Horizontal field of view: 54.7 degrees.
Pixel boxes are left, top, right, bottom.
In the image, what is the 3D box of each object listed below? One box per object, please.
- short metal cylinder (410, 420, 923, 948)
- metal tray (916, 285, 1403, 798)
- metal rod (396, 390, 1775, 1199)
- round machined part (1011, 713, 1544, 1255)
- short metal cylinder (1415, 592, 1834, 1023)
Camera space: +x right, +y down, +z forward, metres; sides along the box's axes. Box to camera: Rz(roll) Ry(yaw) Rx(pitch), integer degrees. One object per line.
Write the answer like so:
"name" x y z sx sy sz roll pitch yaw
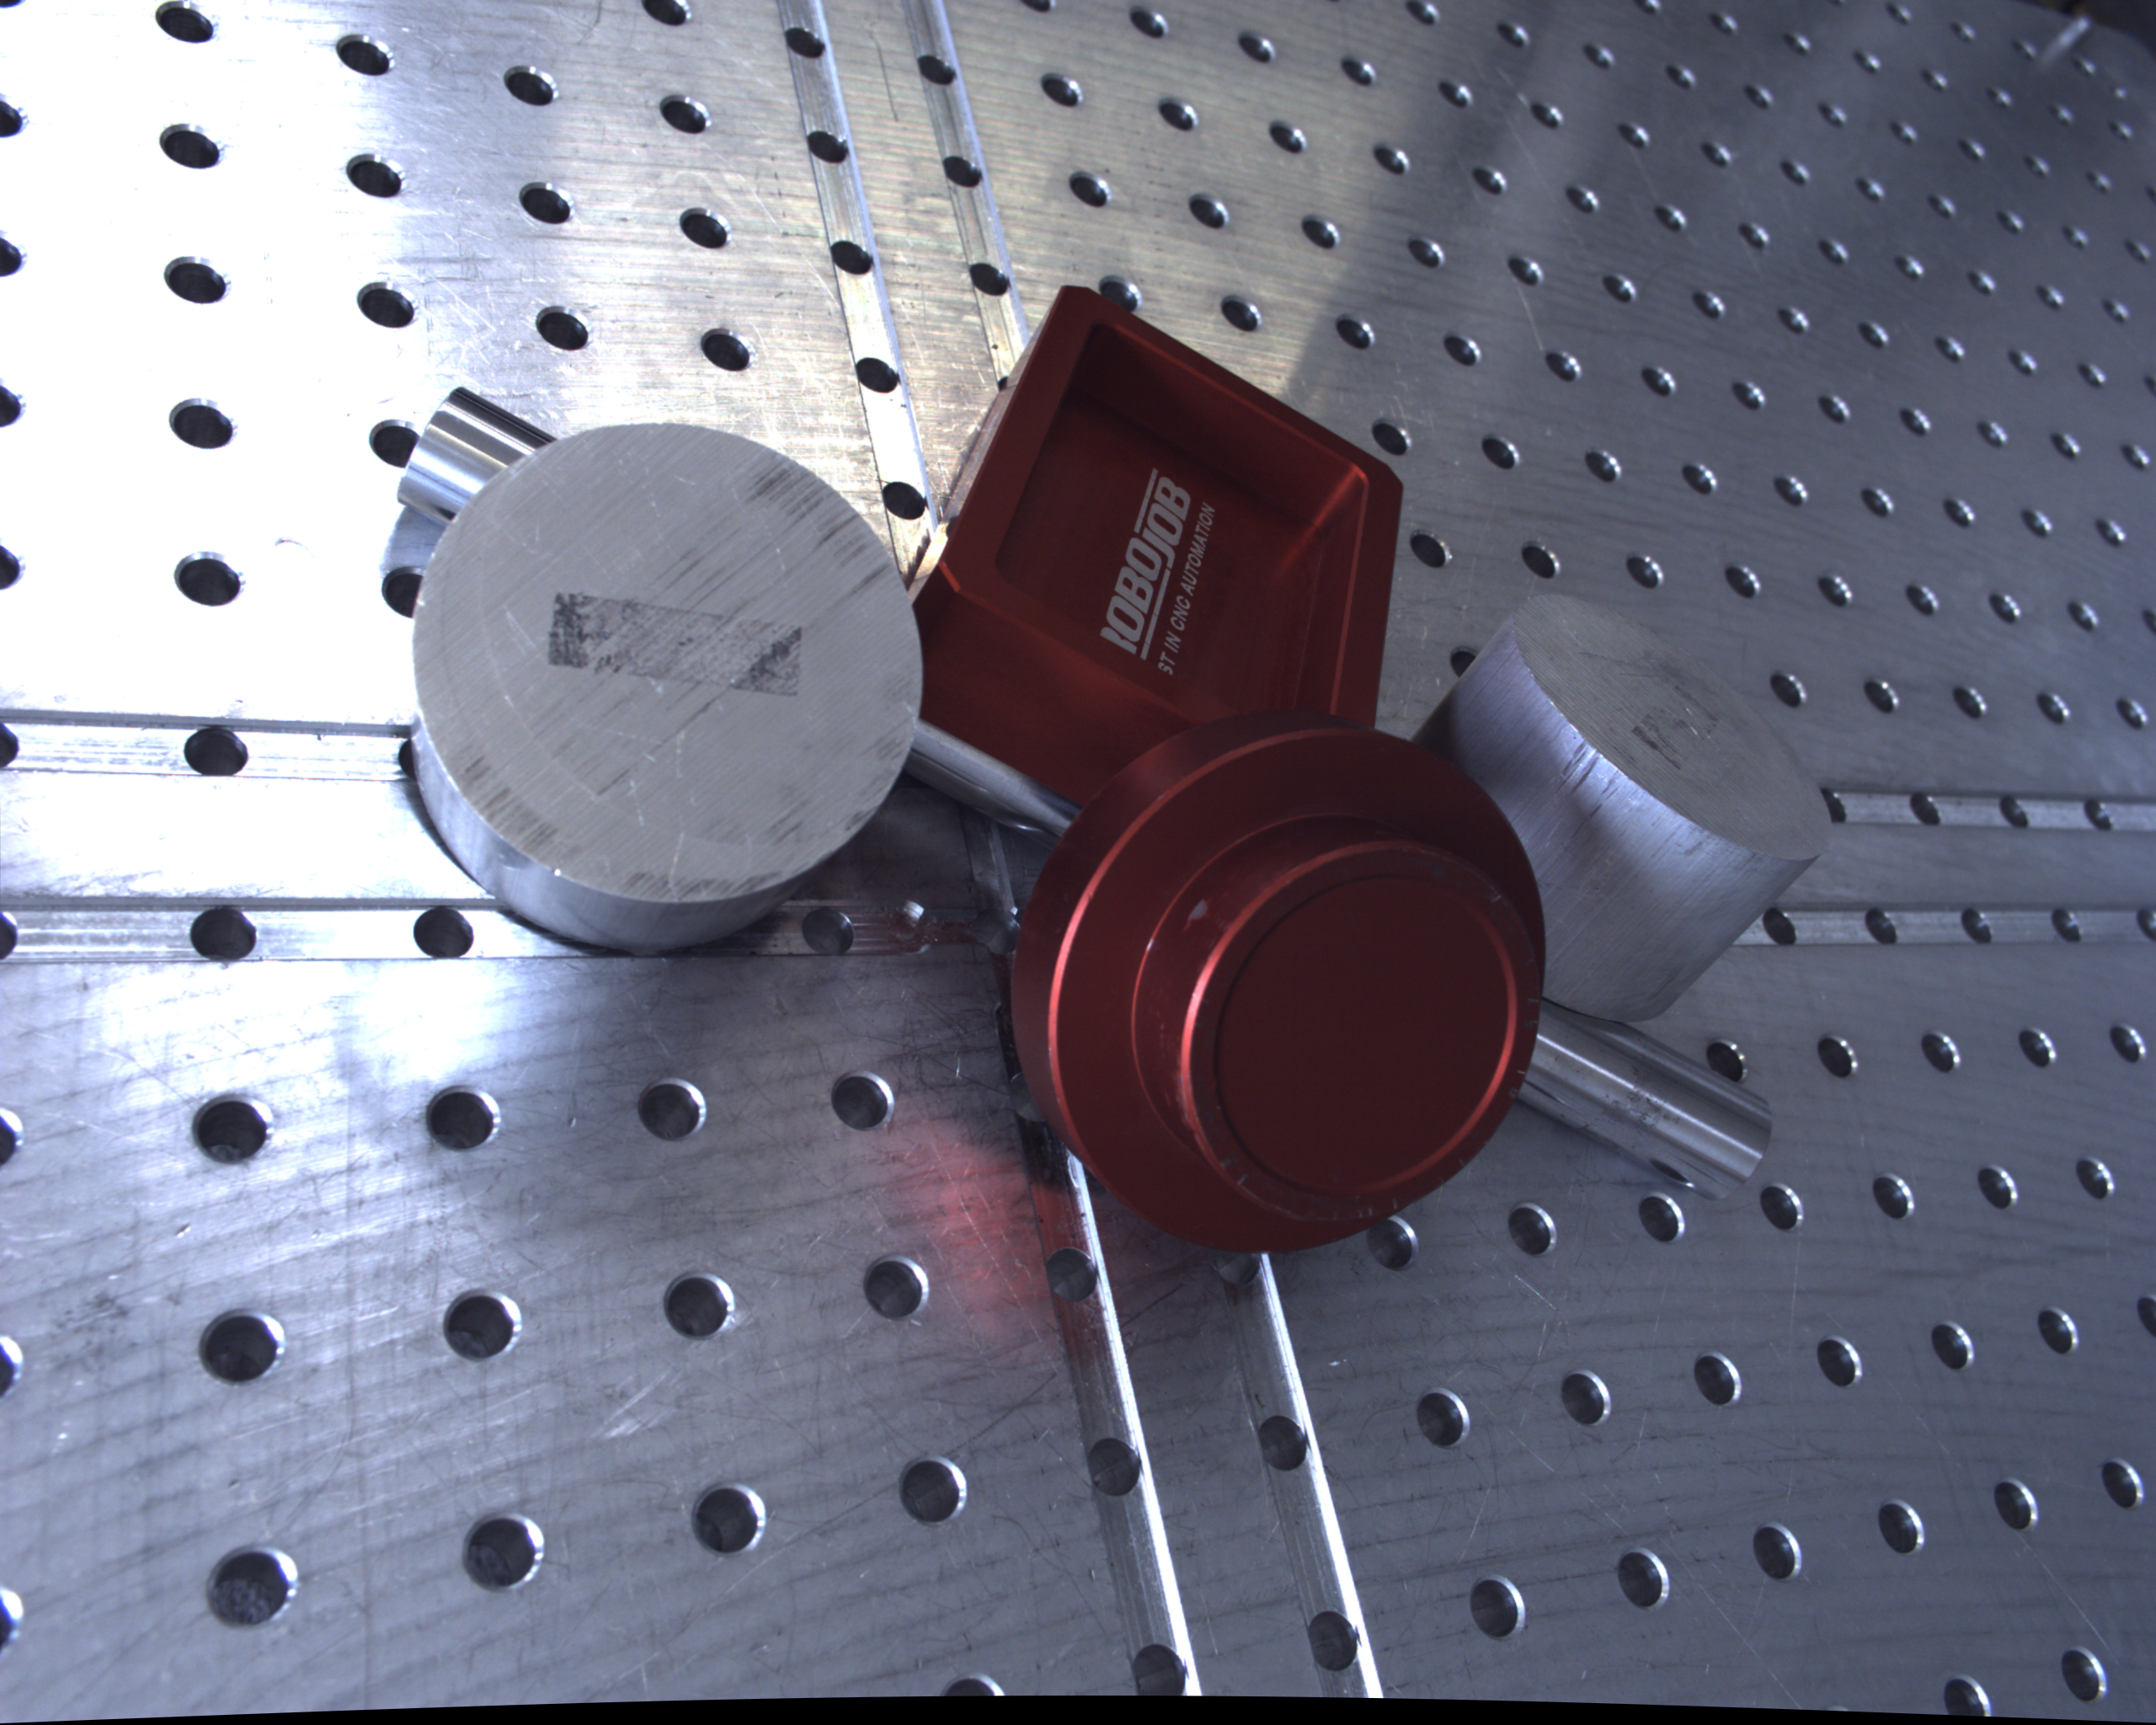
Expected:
"short metal cylinder" -0.072 -0.028 0.355 0.081 0.050 0.080 4 77 -18
"metal tray" 0.018 -0.061 0.433 0.090 0.030 0.130 28 39 -10
"metal rod" 0.009 -0.008 0.418 0.301 0.025 0.025 28 52 -11
"round machined part" 0.041 0.025 0.369 0.099 0.042 0.097 -6 106 -21
"short metal cylinder" 0.111 -0.012 0.444 0.080 0.050 0.080 24 33 -17
